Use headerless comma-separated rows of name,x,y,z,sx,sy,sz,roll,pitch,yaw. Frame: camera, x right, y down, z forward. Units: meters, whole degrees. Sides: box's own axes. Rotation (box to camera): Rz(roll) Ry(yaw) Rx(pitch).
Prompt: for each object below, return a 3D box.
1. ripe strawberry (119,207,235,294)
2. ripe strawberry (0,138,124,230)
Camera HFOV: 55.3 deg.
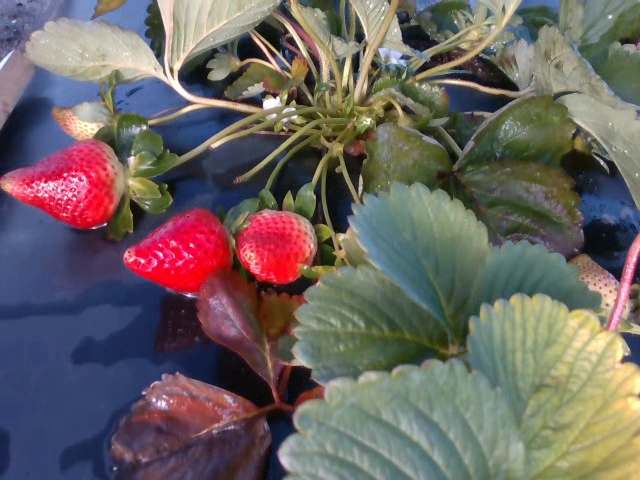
ripe strawberry,-0.067,0.006,0.273,0.044,0.042,0.055,-9,-2,43
ripe strawberry,-0.133,-0.033,0.311,0.065,0.050,0.050,2,12,-33
